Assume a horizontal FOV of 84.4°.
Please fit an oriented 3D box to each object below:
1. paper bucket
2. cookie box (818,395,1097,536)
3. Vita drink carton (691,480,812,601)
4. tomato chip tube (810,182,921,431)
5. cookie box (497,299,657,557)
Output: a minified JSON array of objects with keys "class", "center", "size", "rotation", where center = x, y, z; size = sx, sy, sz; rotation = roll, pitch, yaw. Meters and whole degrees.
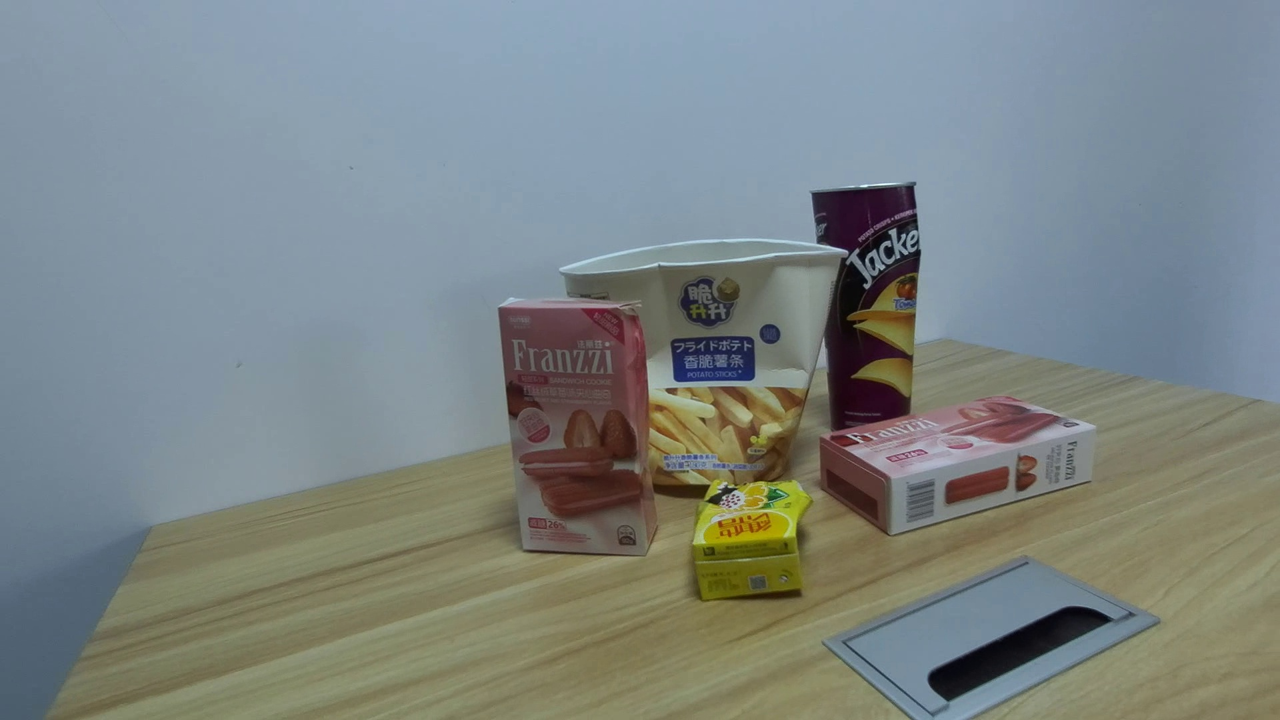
[{"class":"paper bucket","center":[0.058,0.001,0.621],"size":[0.218,0.199,0.147],"rotation":[-10,15,-17]},{"class":"cookie box","center":[0.246,0.078,0.556],"size":[0.185,0.048,0.096],"rotation":[-10,15,-16]},{"class":"Vita drink carton","center":[0.074,0.116,0.476],"size":[0.087,0.042,0.108],"rotation":[-9,9,15]},{"class":"tomato chip tube","center":[0.218,-0.046,0.675],"size":[0.076,0.235,0.077],"rotation":[-8,13,-11]},{"class":"cookie box","center":[-0.041,0.047,0.510],"size":[0.118,0.184,0.055],"rotation":[0,16,20]}]
